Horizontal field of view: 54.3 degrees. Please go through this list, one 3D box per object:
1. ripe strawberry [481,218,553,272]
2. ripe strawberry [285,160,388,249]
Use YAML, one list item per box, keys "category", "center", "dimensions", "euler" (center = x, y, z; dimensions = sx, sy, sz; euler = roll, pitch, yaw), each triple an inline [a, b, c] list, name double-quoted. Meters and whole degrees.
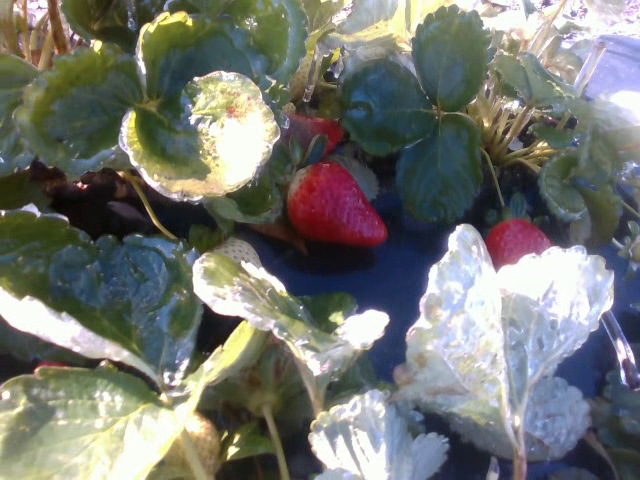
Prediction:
- category: "ripe strawberry"
  center: [0.103, 0.009, 0.314]
  dimensions: [0.039, 0.047, 0.040]
  euler: [30, -43, -11]
- category: "ripe strawberry"
  center: [0.013, -0.016, 0.298]
  dimensions: [0.056, 0.044, 0.040]
  euler: [39, -34, -5]
